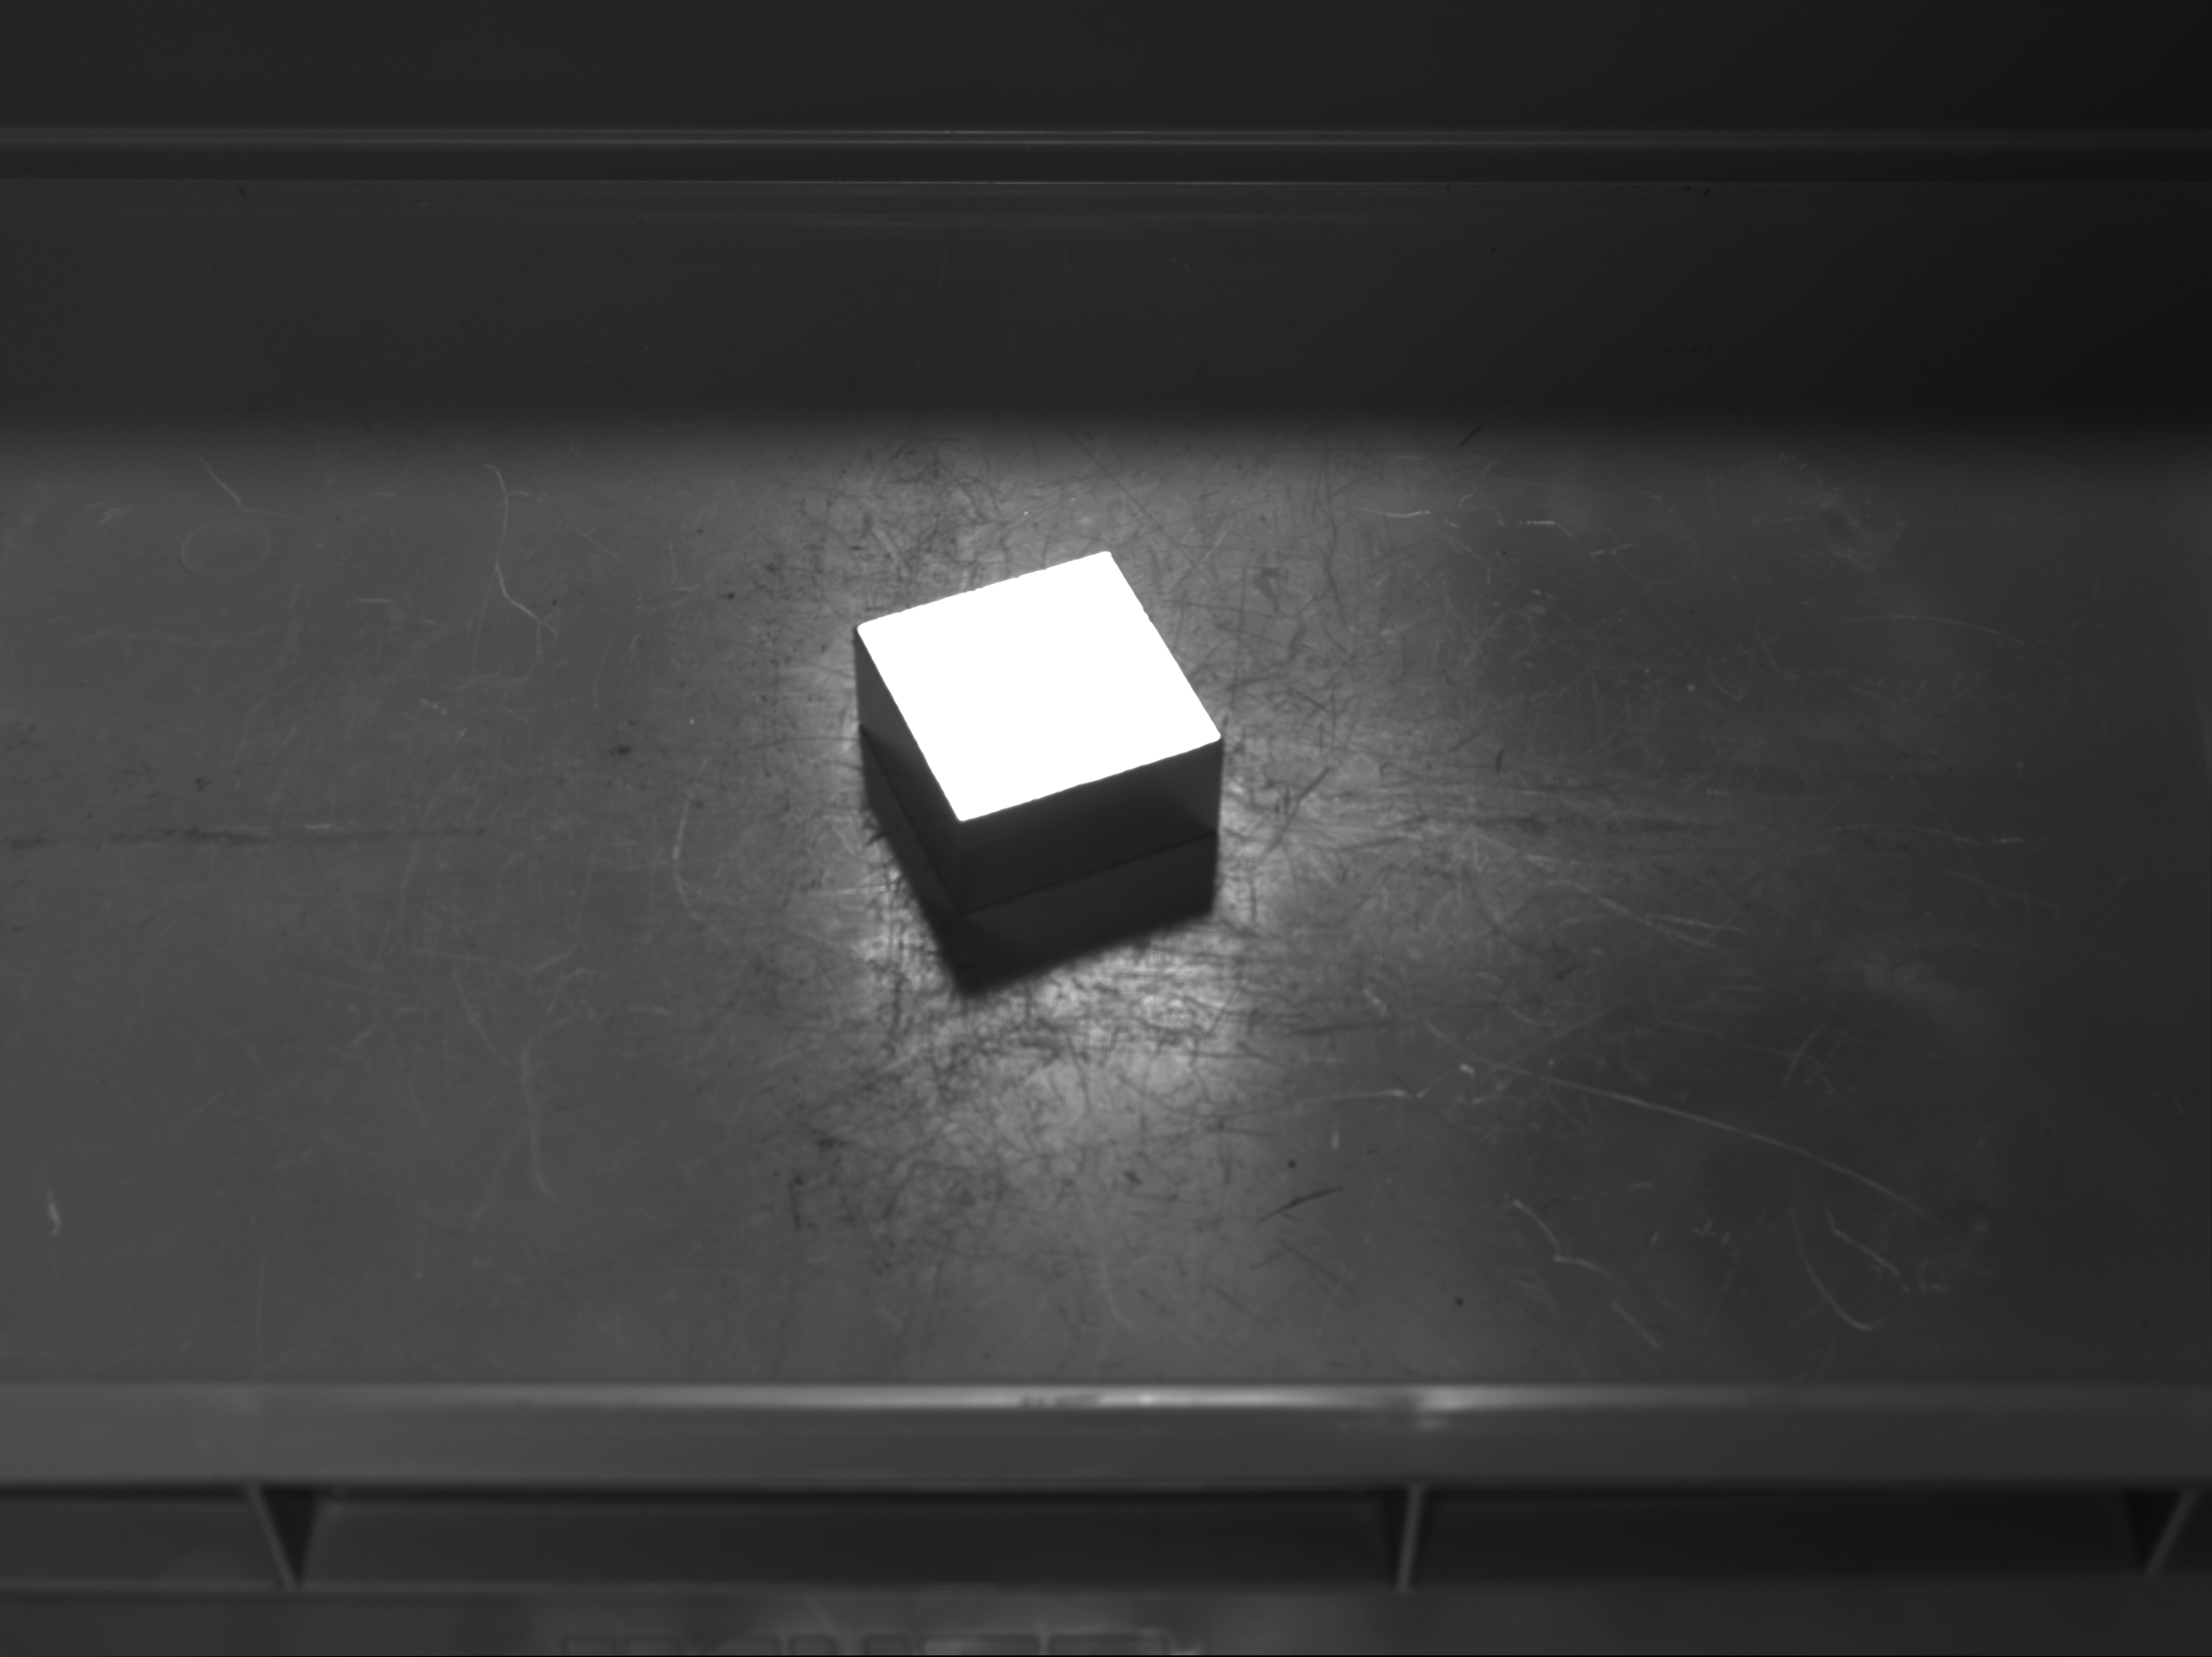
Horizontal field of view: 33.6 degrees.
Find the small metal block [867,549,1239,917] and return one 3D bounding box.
[{"bbox_3d":[-0.010,-0.018,0.653,0.050,0.025,0.050,-18,52,-15],"label":"small metal block"}]
